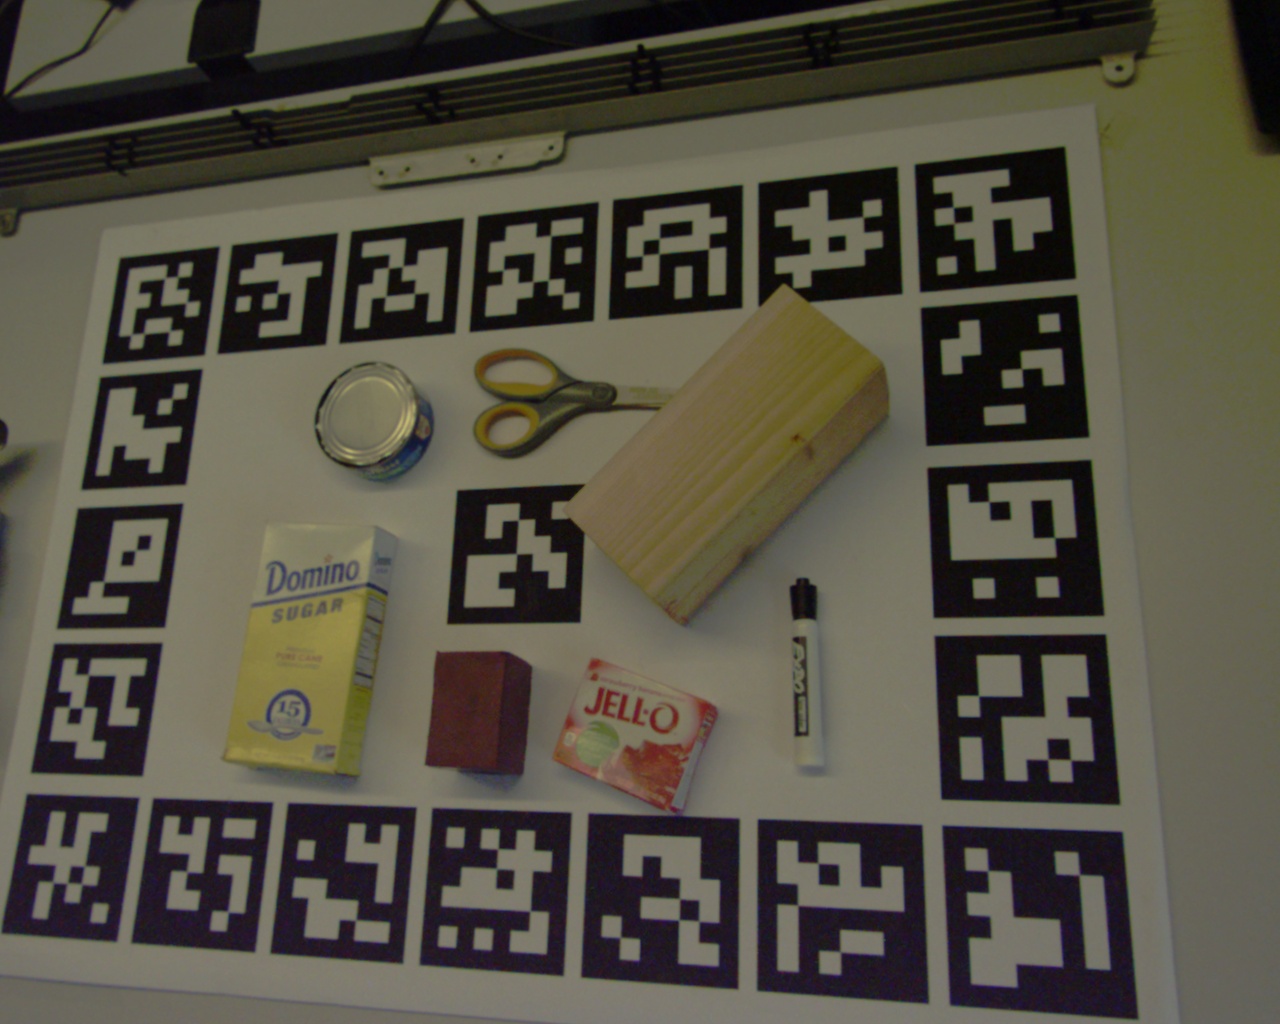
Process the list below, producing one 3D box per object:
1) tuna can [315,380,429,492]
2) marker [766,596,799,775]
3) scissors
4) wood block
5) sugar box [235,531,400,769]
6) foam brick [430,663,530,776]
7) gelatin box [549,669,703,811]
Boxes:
[{"bbox_3d":[-0.214,-0.060,0.913,0.086,0.033,0.086,-4,75,16],"label":"tuna can"},{"bbox_3d":[0.098,0.118,0.781,0.020,0.019,0.121,0,78,16],"label":"marker"},{"bbox_3d":[-0.043,-0.069,0.877,0.205,0.015,0.088,6,78,20],"label":"scissors"},{"bbox_3d":[0.059,-0.019,0.797,0.206,0.090,0.091,-45,68,0],"label":"wood block"},{"bbox_3d":[-0.246,0.105,0.877,0.093,0.045,0.176,3,77,16],"label":"sugar box"},{"bbox_3d":[-0.114,0.149,0.817,0.053,0.051,0.078,0,77,16],"label":"foam brick"},{"bbox_3d":[-0.010,0.159,0.799,0.090,0.030,0.073,18,82,20],"label":"gelatin box"}]
